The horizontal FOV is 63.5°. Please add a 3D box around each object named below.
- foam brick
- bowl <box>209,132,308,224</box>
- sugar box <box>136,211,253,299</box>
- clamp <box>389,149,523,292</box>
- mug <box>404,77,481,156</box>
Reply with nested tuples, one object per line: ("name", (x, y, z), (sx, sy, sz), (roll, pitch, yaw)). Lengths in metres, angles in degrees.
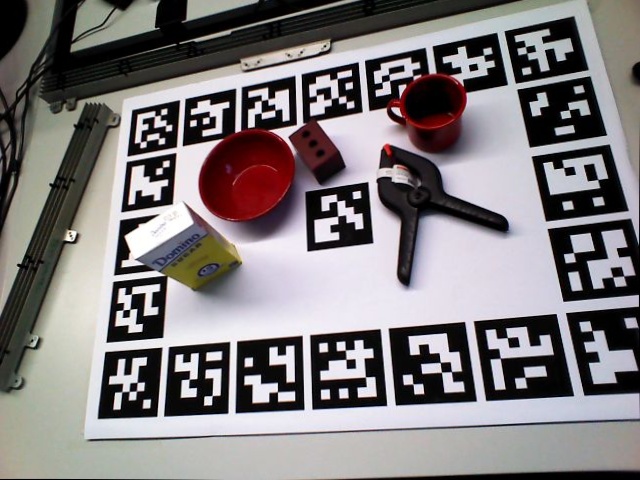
("foam brick", (0.024, -0.125, 0.808), (0.053, 0.051, 0.078), (-34, 67, 3))
("bowl", (-0.090, -0.087, 0.818), (0.162, 0.055, 0.161), (-5, 70, 13))
("sugar box", (-0.170, 0.028, 0.735), (0.093, 0.176, 0.045), (-31, 68, 2))
("clamp", (0.161, -0.049, 0.739), (0.166, 0.036, 0.202), (-30, 67, 6))
("mug", (0.181, -0.179, 0.758), (0.117, 0.081, 0.093), (19, 77, 17))
